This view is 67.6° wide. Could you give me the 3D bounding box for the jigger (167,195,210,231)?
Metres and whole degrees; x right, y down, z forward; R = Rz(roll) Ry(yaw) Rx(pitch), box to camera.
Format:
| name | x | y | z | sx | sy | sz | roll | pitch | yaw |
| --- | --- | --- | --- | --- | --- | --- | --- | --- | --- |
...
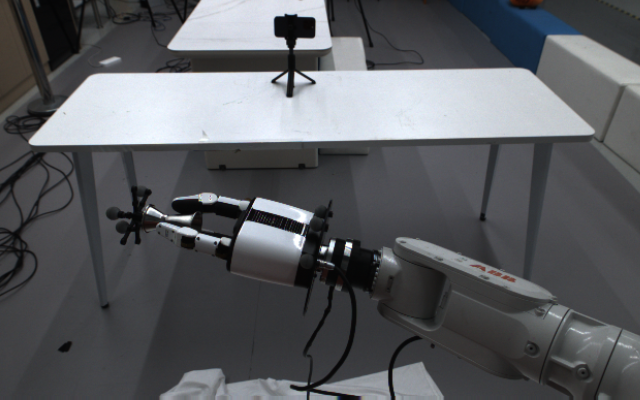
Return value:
| name | x | y | z | sx | sy | sz | roll | pitch | yaw |
| --- | --- | --- | --- | --- | --- | --- | --- | --- | --- |
| jigger | -0.190 | 0.026 | 0.651 | 0.071 | 0.043 | 0.043 | 9 | 35 | 5 |
